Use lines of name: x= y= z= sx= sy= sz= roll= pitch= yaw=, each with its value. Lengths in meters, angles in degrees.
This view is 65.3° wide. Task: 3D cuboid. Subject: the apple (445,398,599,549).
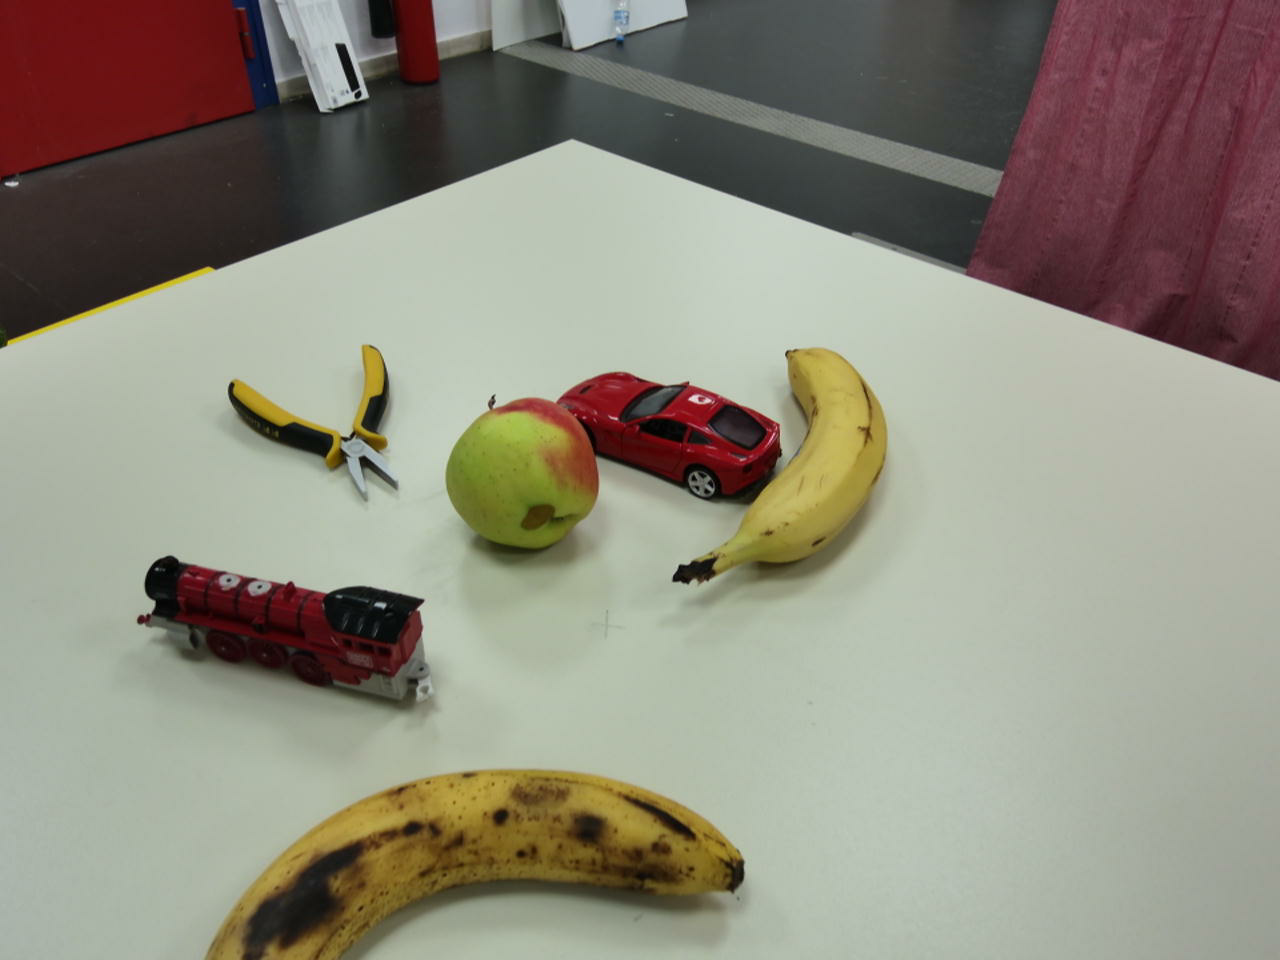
apple: x=-0.057 y=-0.003 z=0.508 sx=0.075 sy=0.074 sz=0.075 roll=14 pitch=39 yaw=16
